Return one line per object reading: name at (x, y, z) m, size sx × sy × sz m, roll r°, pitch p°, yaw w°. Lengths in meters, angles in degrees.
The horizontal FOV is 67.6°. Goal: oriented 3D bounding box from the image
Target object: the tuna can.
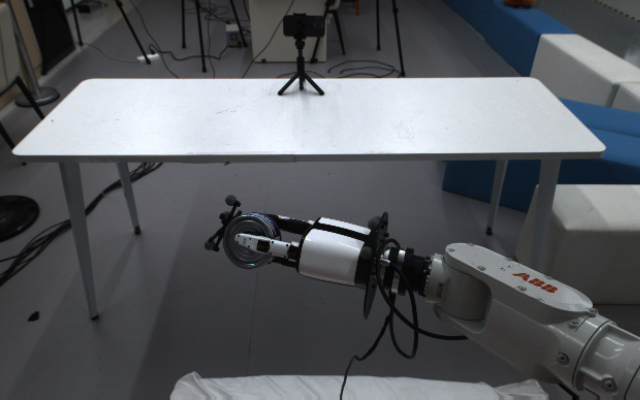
tuna can at (-0.103, 0.066, 0.740) m, size 0.085 × 0.085 × 0.034 m, roll 10°, pitch 5°, yaw 11°
